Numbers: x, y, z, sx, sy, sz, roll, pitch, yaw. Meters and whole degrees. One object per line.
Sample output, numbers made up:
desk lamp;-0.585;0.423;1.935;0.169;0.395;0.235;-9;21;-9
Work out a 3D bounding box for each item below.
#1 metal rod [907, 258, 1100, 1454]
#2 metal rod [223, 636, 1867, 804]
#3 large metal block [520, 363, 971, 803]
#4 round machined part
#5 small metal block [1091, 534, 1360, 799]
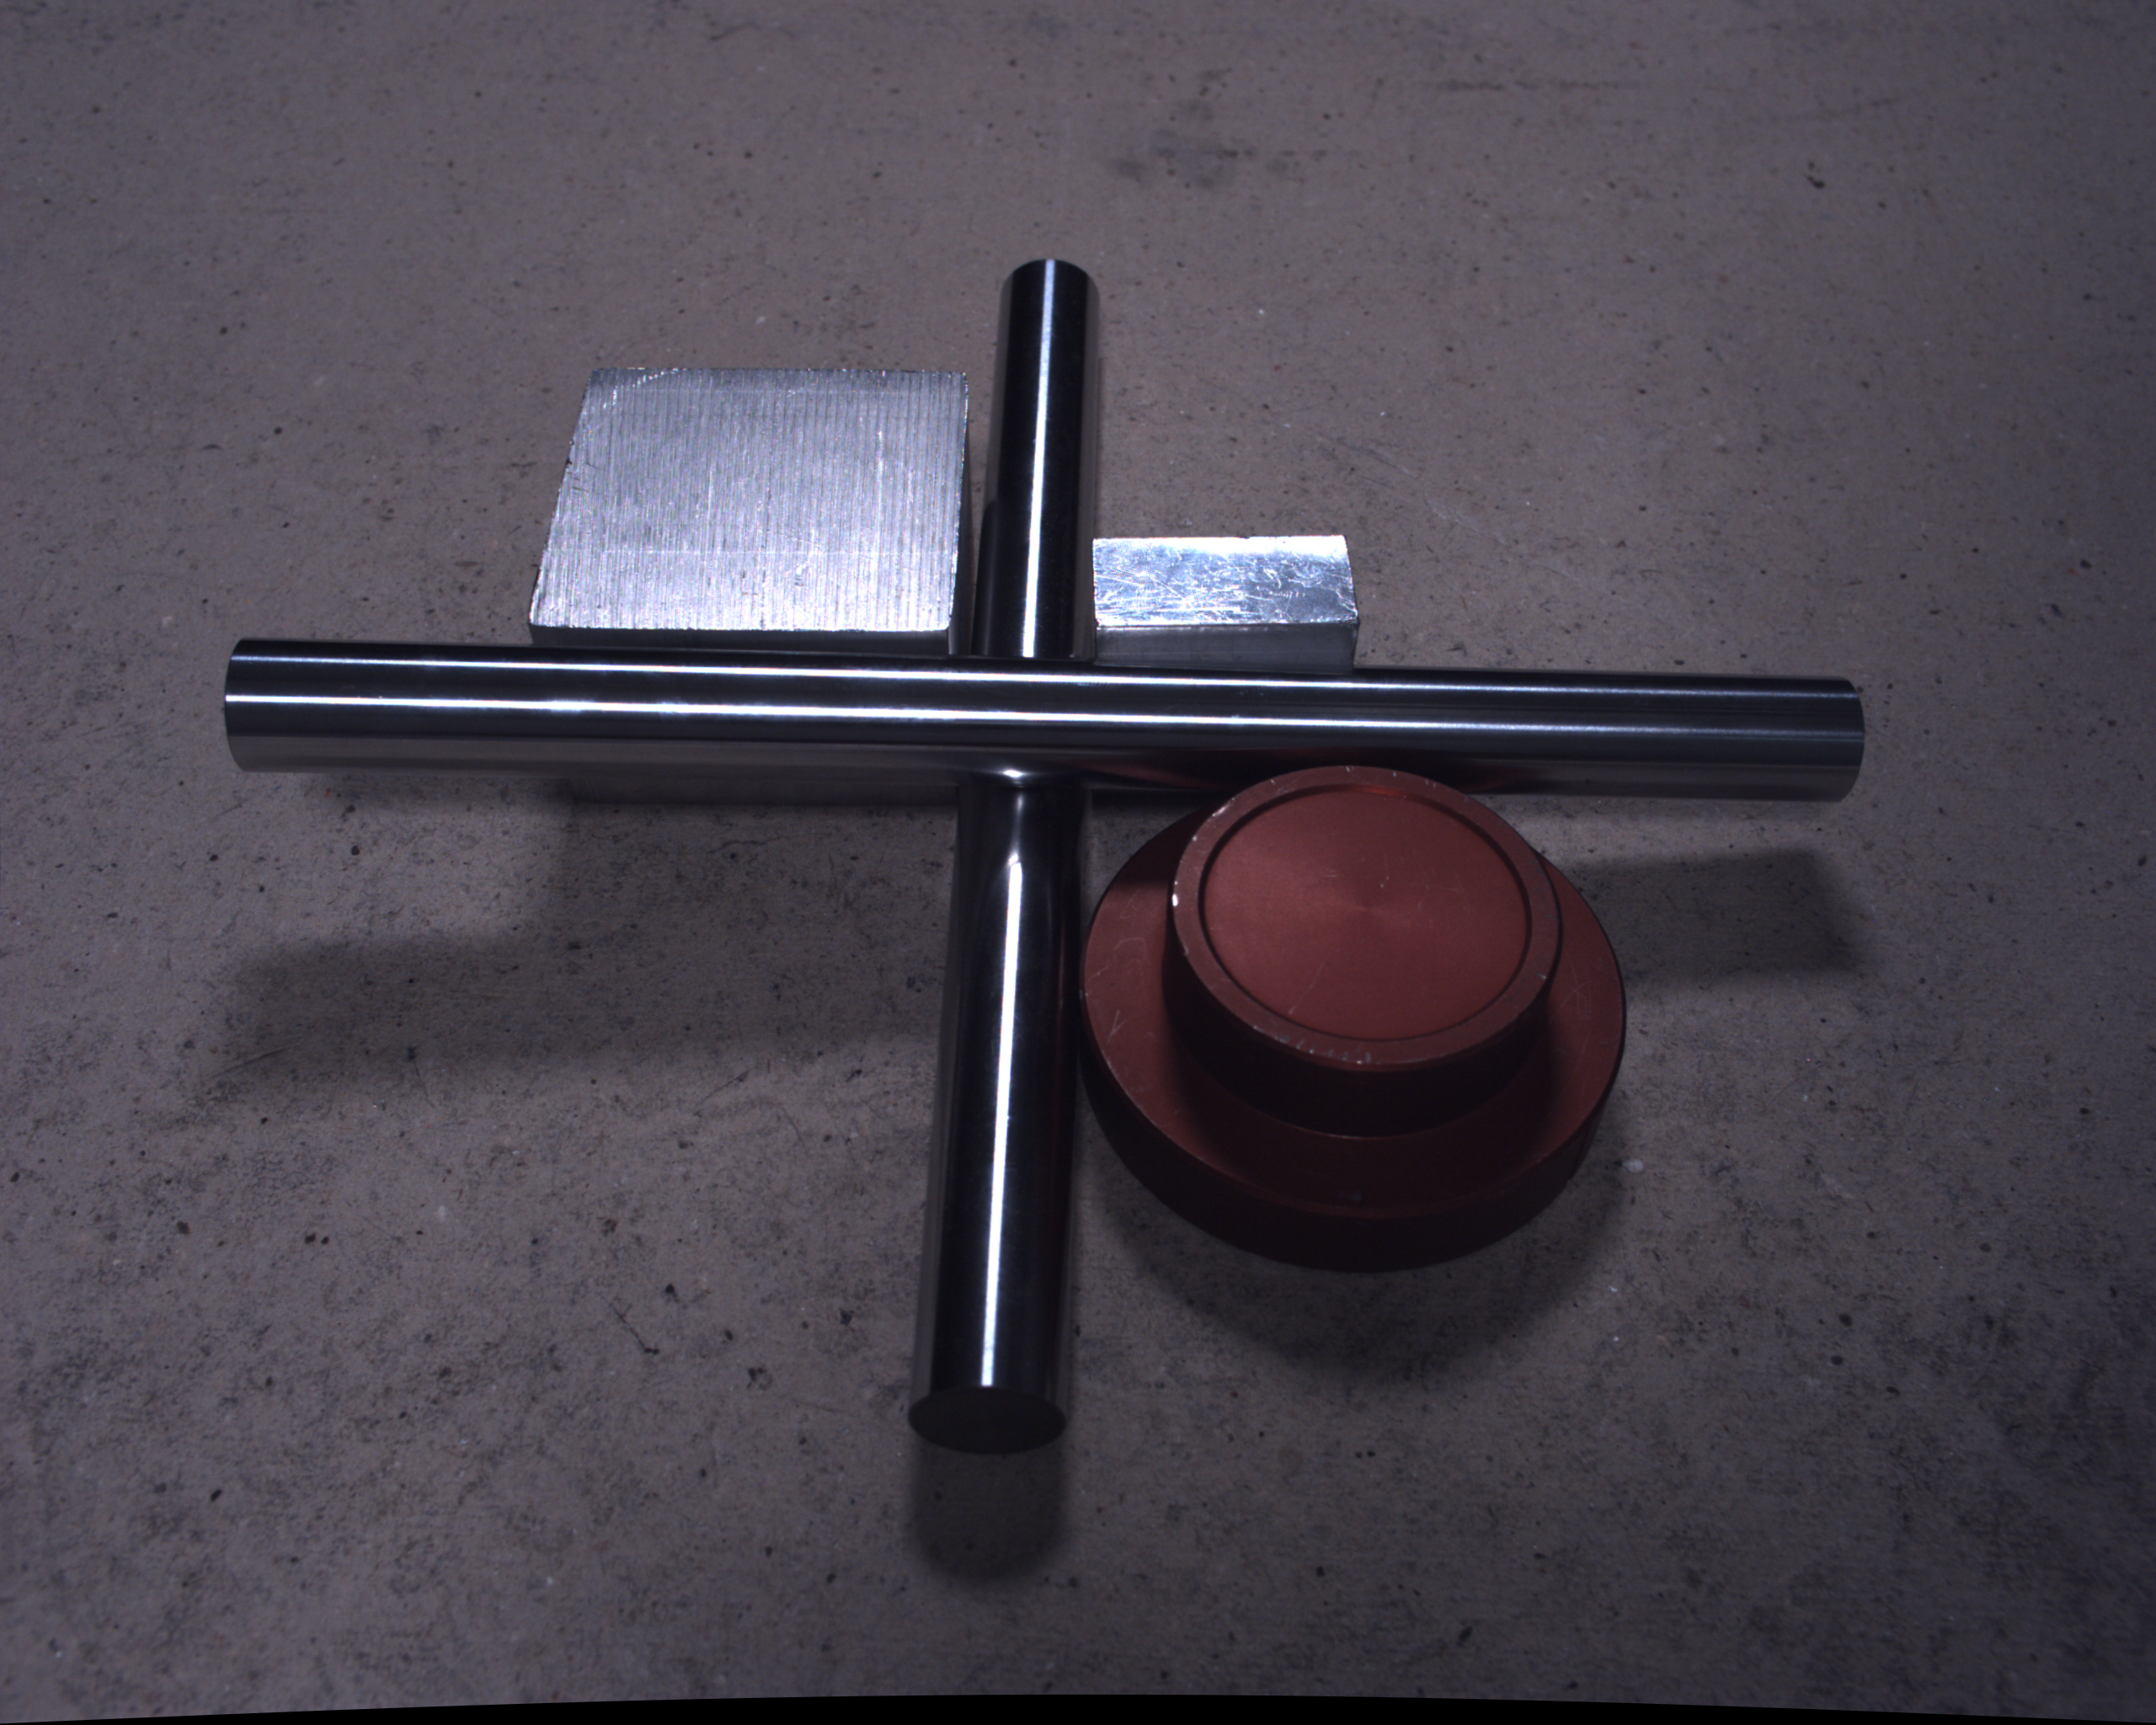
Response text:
metal rod;-0.011;-0.026;0.427;0.025;0.025;0.300;1;50;1
metal rod;-0.002;-0.026;0.394;0.302;0.025;0.025;1;50;-5
large metal block;-0.064;-0.059;0.436;0.081;0.050;0.080;1;50;0
round machined part;0.049;0.021;0.376;0.099;0.042;0.098;0;50;0
small metal block;0.028;-0.039;0.422;0.050;0.050;0.025;-1;50;-1
